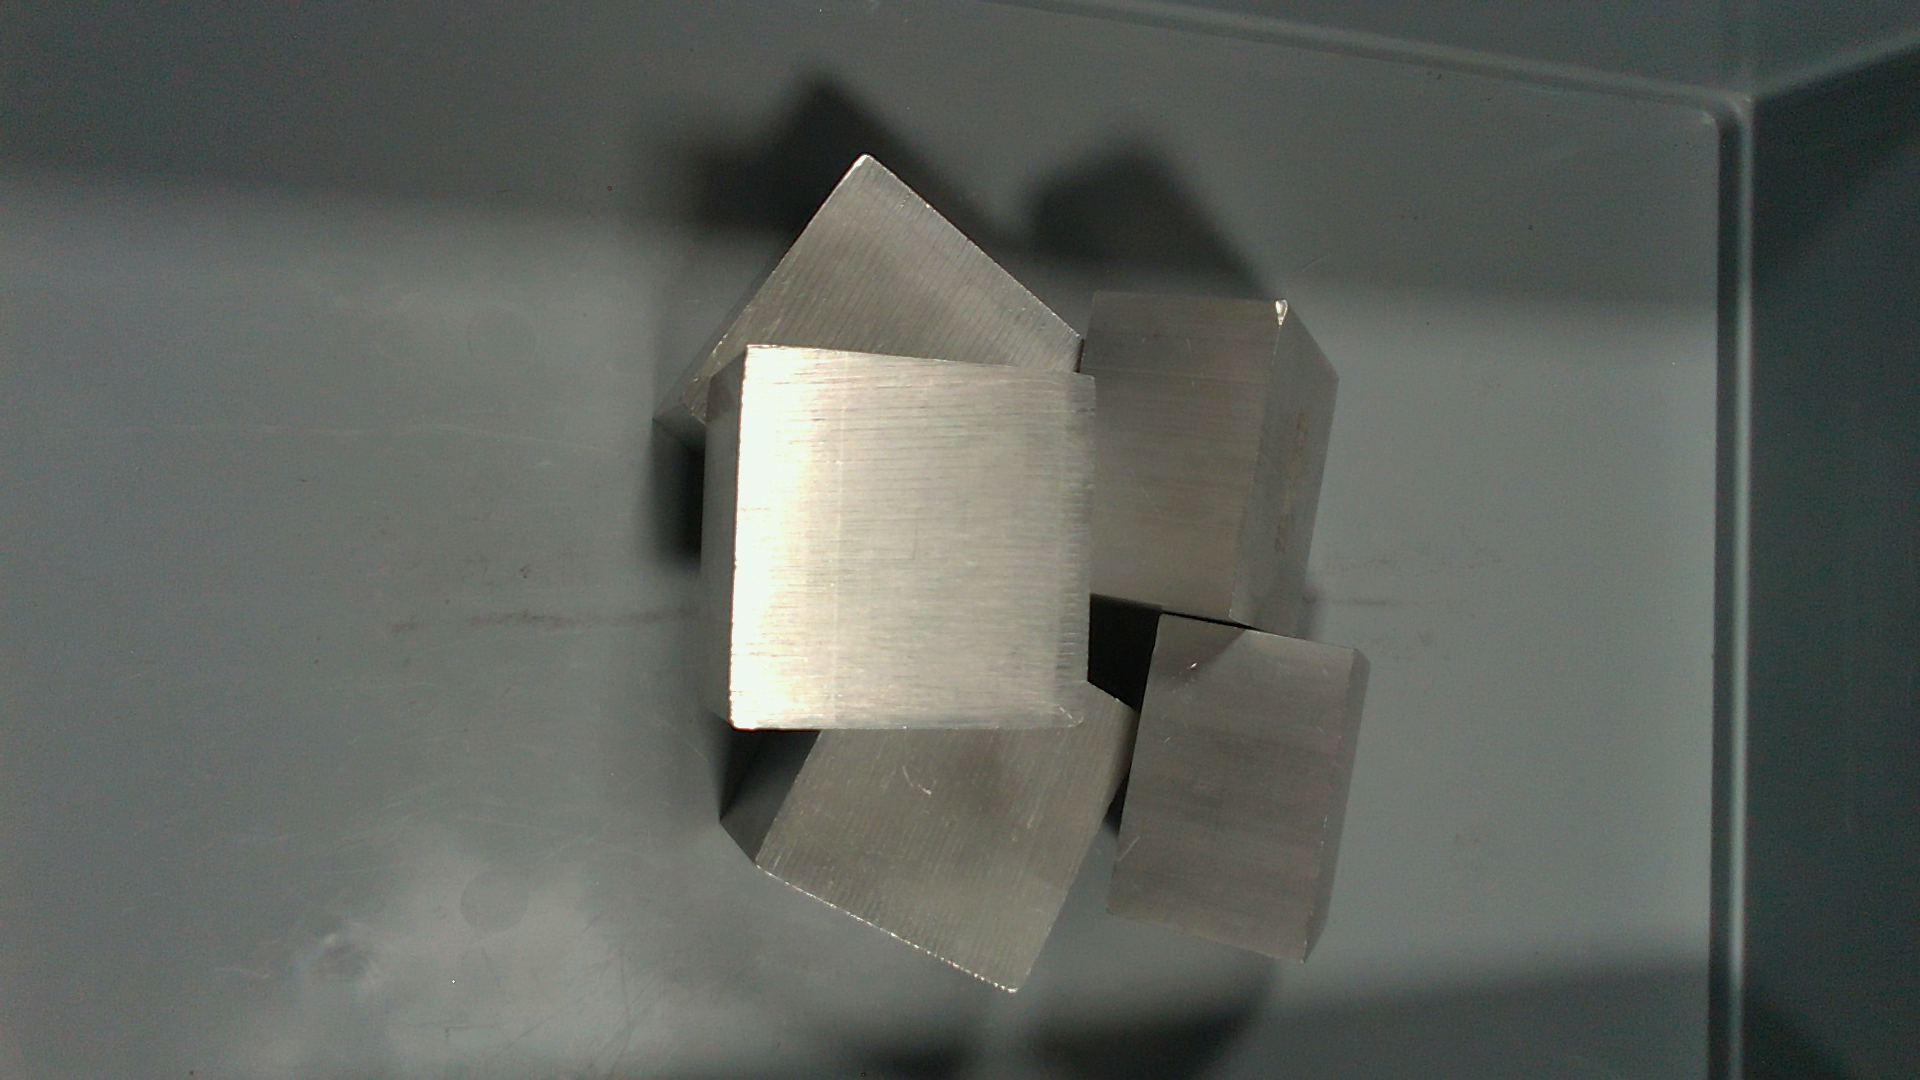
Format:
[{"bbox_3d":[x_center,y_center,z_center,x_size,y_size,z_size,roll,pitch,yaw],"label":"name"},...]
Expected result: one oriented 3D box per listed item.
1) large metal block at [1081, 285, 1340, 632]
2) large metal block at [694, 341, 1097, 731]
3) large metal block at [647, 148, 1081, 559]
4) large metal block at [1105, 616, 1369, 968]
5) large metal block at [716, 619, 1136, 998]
[{"bbox_3d":[0.067,-0.018,0.381,0.080,0.050,0.080,19,81,-64],"label":"large metal block"},{"bbox_3d":[-0.016,0.001,0.319,0.080,0.050,0.080,3,88,-19],"label":"large metal block"},{"bbox_3d":[-0.024,-0.042,0.371,0.080,0.050,0.080,38,78,-16],"label":"large metal block"},{"bbox_3d":[0.081,0.067,0.386,0.050,0.080,0.080,10,86,20],"label":"large metal block"},{"bbox_3d":[-0.008,0.064,0.373,0.080,0.050,0.080,31,80,-17],"label":"large metal block"}]
